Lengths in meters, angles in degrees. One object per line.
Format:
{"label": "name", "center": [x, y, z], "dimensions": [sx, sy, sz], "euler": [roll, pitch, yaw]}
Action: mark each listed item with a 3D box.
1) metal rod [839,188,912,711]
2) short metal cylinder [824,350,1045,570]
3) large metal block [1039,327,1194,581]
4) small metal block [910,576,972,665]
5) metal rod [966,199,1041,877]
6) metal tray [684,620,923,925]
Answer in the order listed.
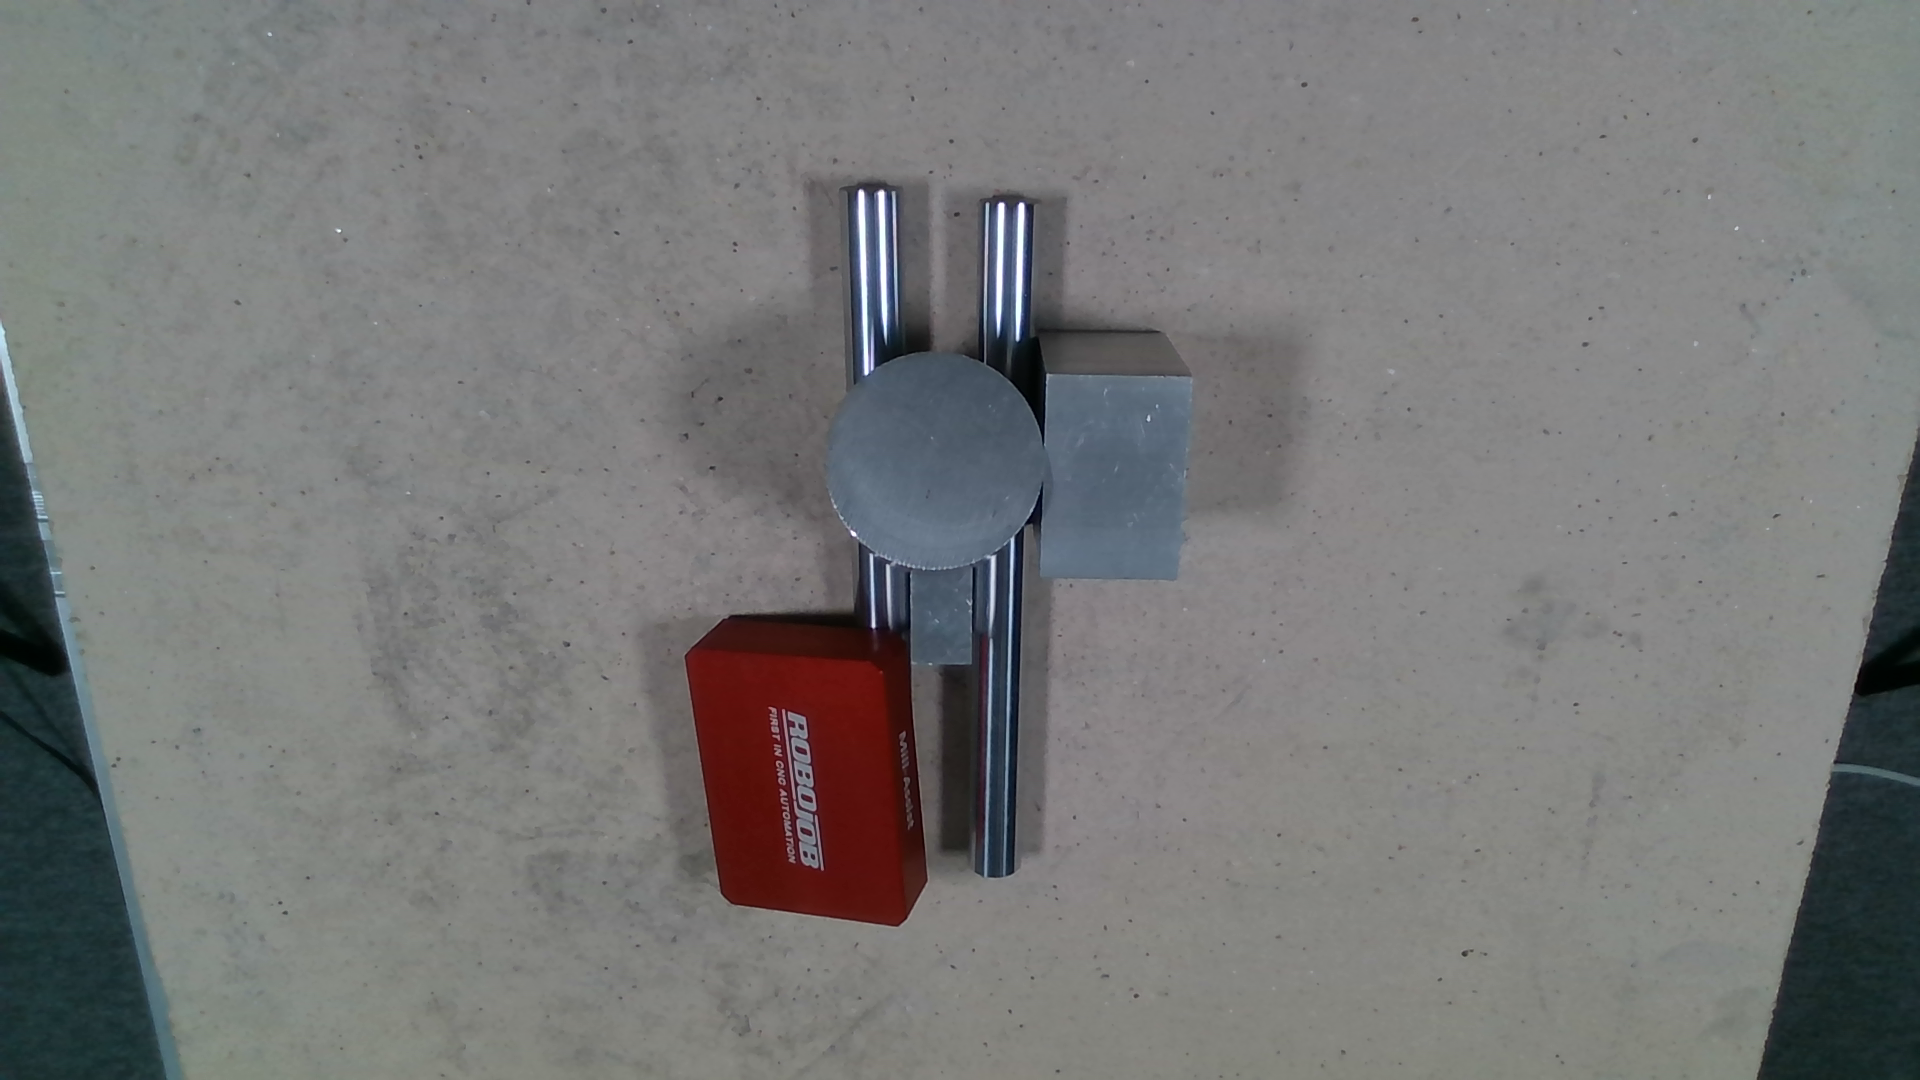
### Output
{"label": "metal rod", "center": [-0.034, 0.004, 0.587], "dimensions": [0.025, 0.025, 0.301], "euler": [0, 110, 0]}
{"label": "short metal cylinder", "center": [-0.010, -0.028, 0.523], "dimensions": [0.080, 0.050, 0.080], "euler": [0, 86, -2]}
{"label": "large metal block", "center": [0.058, -0.036, 0.543], "dimensions": [0.050, 0.080, 0.080], "euler": [1, 110, 0]}
{"label": "small metal block", "center": [-0.008, 0.019, 0.578], "dimensions": [0.025, 0.050, 0.050], "euler": [1, 110, 0]}
{"label": "metal rod", "center": [0.017, 0.009, 0.588], "dimensions": [0.025, 0.025, 0.301], "euler": [1, 110, 0]}
{"label": "metal tray", "center": [-0.066, 0.102, 0.605], "dimensions": [0.090, 0.030, 0.130], "euler": [3, 113, 18]}
